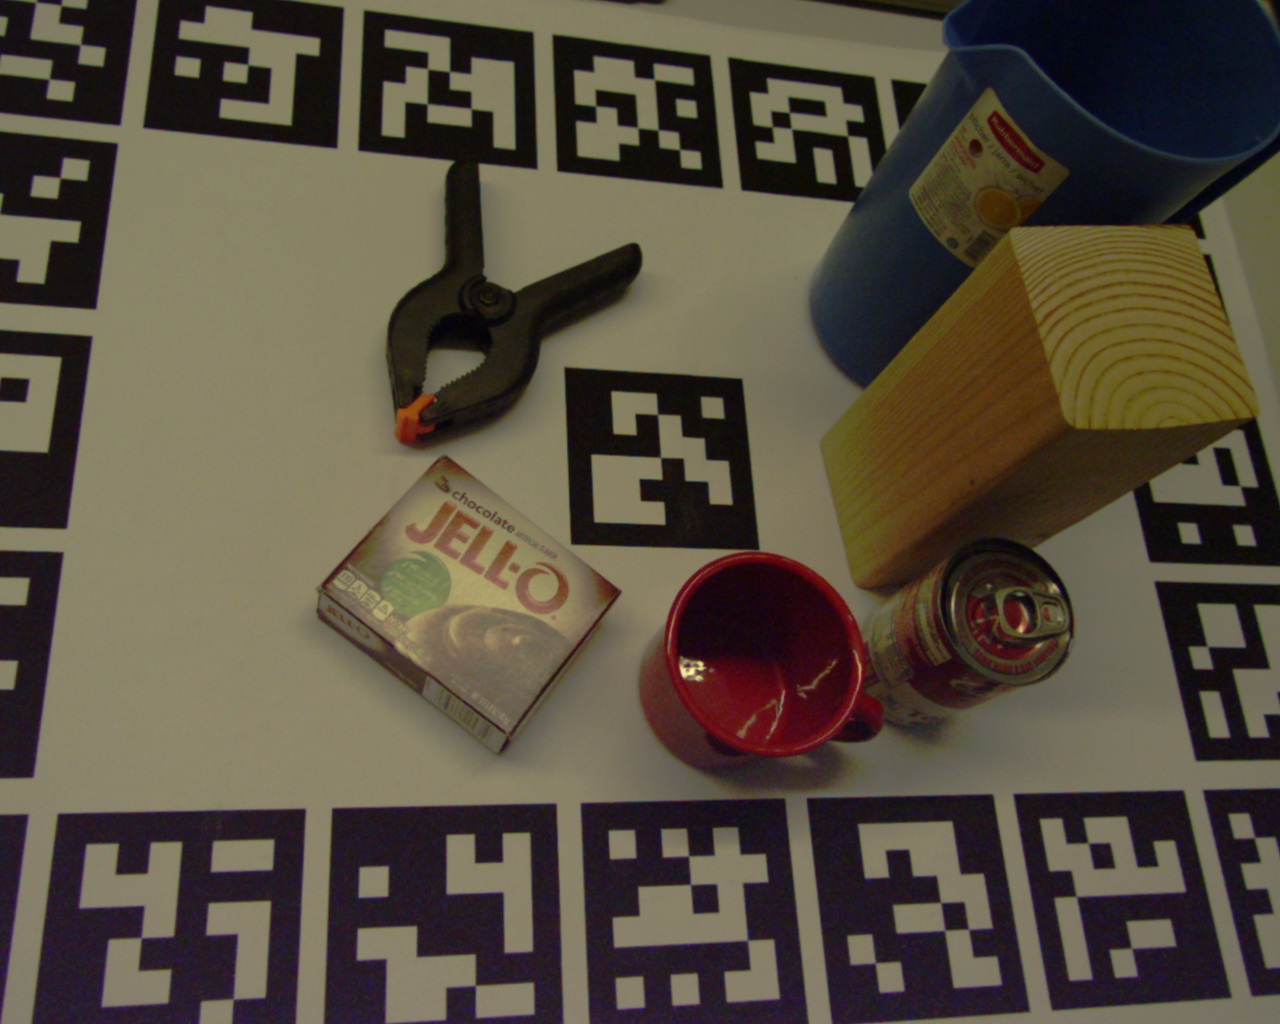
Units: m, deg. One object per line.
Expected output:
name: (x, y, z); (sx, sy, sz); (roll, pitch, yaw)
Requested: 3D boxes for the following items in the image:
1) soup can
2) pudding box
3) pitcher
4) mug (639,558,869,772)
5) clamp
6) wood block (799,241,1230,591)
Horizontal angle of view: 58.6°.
soup can: (0.148, 0.066, 0.578); (0.067, 0.102, 0.068); (4, 70, -13)
pudding box: (-0.090, 0.049, 0.568); (0.114, 0.039, 0.089); (35, 68, 3)
pitcher: (0.188, -0.155, 0.603); (0.188, 0.243, 0.134); (-1, 67, -11)
mug: (0.057, 0.087, 0.560); (0.117, 0.082, 0.093); (34, 62, 2)
clamp: (-0.083, -0.098, 0.636); (0.121, 0.037, 0.165); (30, 65, -8)
wood block: (0.170, -0.036, 0.567); (0.089, 0.207, 0.091); (-1, 69, -19)
